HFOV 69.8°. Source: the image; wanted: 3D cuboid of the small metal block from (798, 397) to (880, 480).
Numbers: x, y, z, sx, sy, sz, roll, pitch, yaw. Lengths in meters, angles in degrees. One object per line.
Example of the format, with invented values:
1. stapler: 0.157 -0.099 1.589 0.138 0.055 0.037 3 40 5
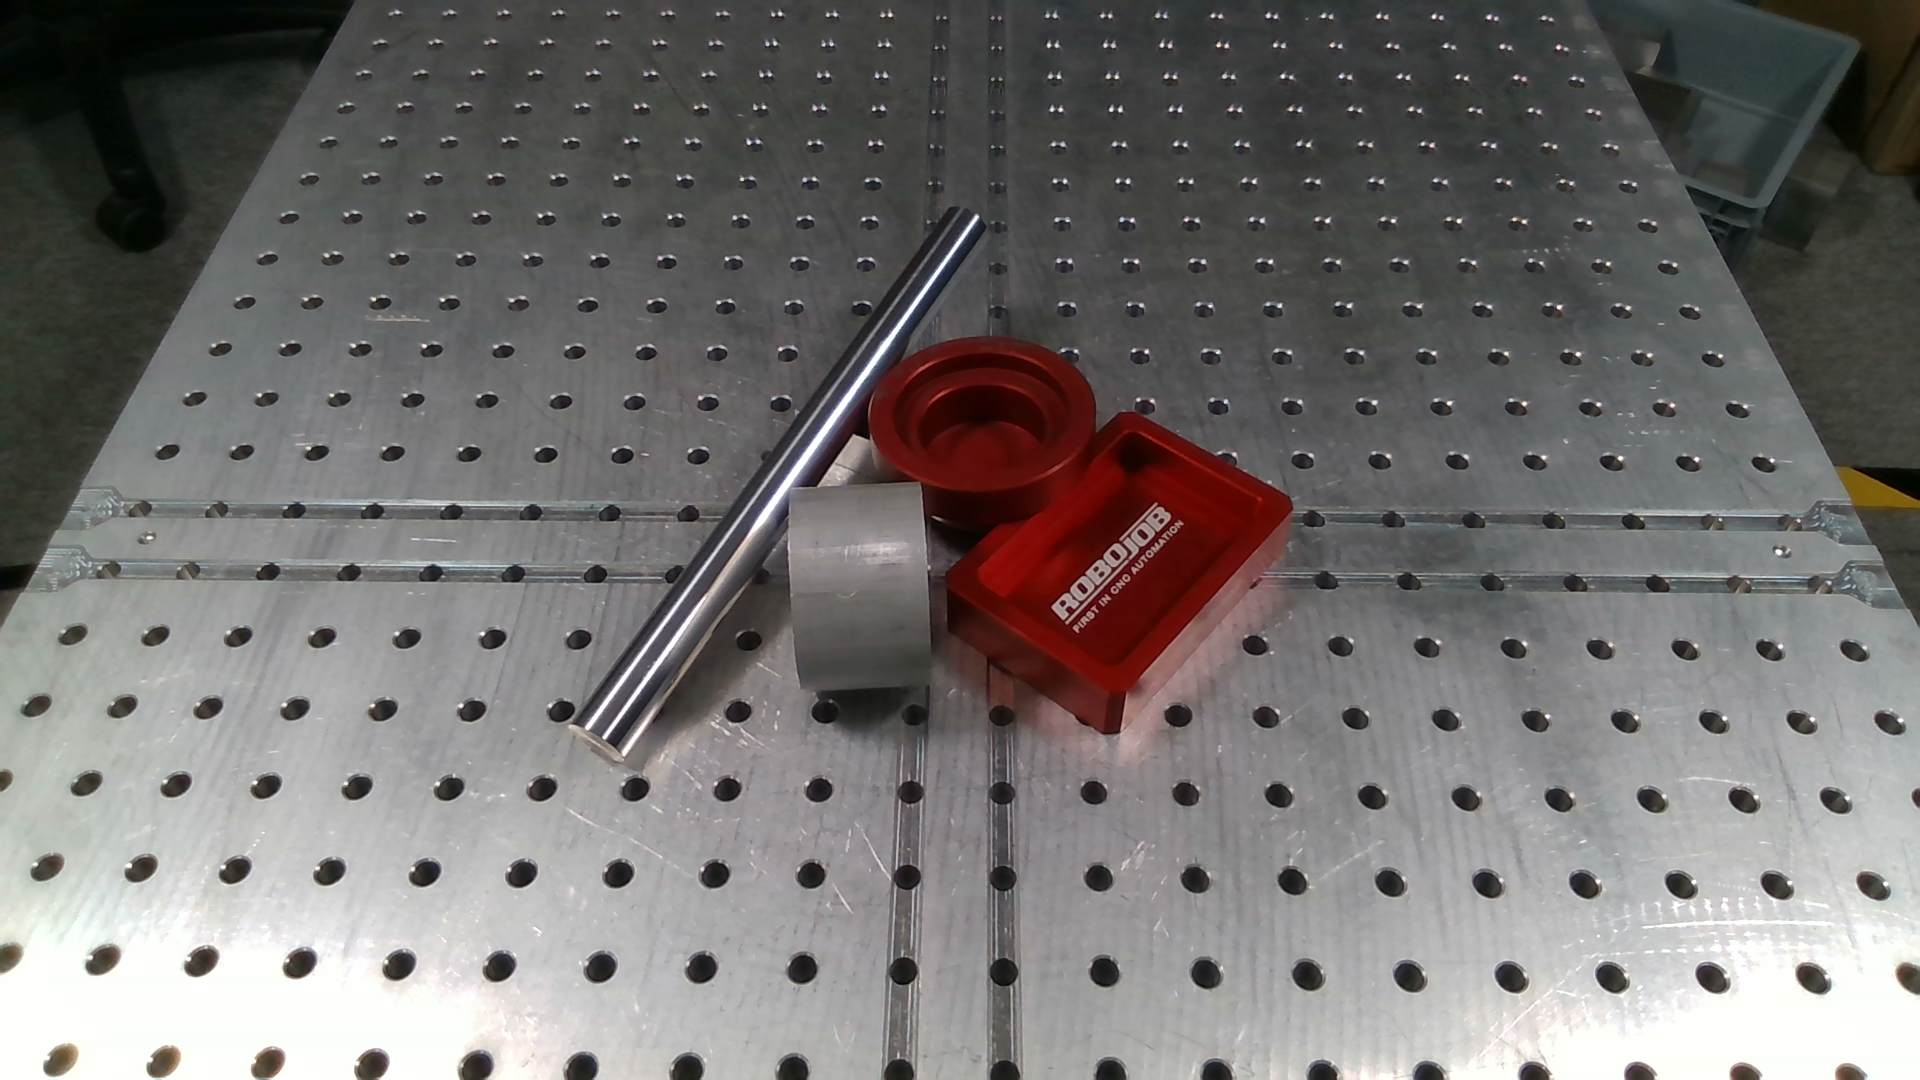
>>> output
1. small metal block: -0.041 -0.058 0.639 0.050 0.025 0.050 22 54 18

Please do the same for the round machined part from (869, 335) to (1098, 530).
1. round machined part: 0.010 -0.043 0.605 0.098 0.042 0.098 0 48 0

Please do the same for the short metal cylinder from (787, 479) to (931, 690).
1. short metal cylinder: -0.039 0.017 0.538 0.050 0.080 0.080 -3 50 -3

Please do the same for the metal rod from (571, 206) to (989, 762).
1. metal rod: -0.068 -0.036 0.594 0.025 0.025 0.299 23 62 18

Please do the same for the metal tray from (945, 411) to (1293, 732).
1. metal tray: 0.067 0.009 0.578 0.090 0.030 0.130 33 57 24
